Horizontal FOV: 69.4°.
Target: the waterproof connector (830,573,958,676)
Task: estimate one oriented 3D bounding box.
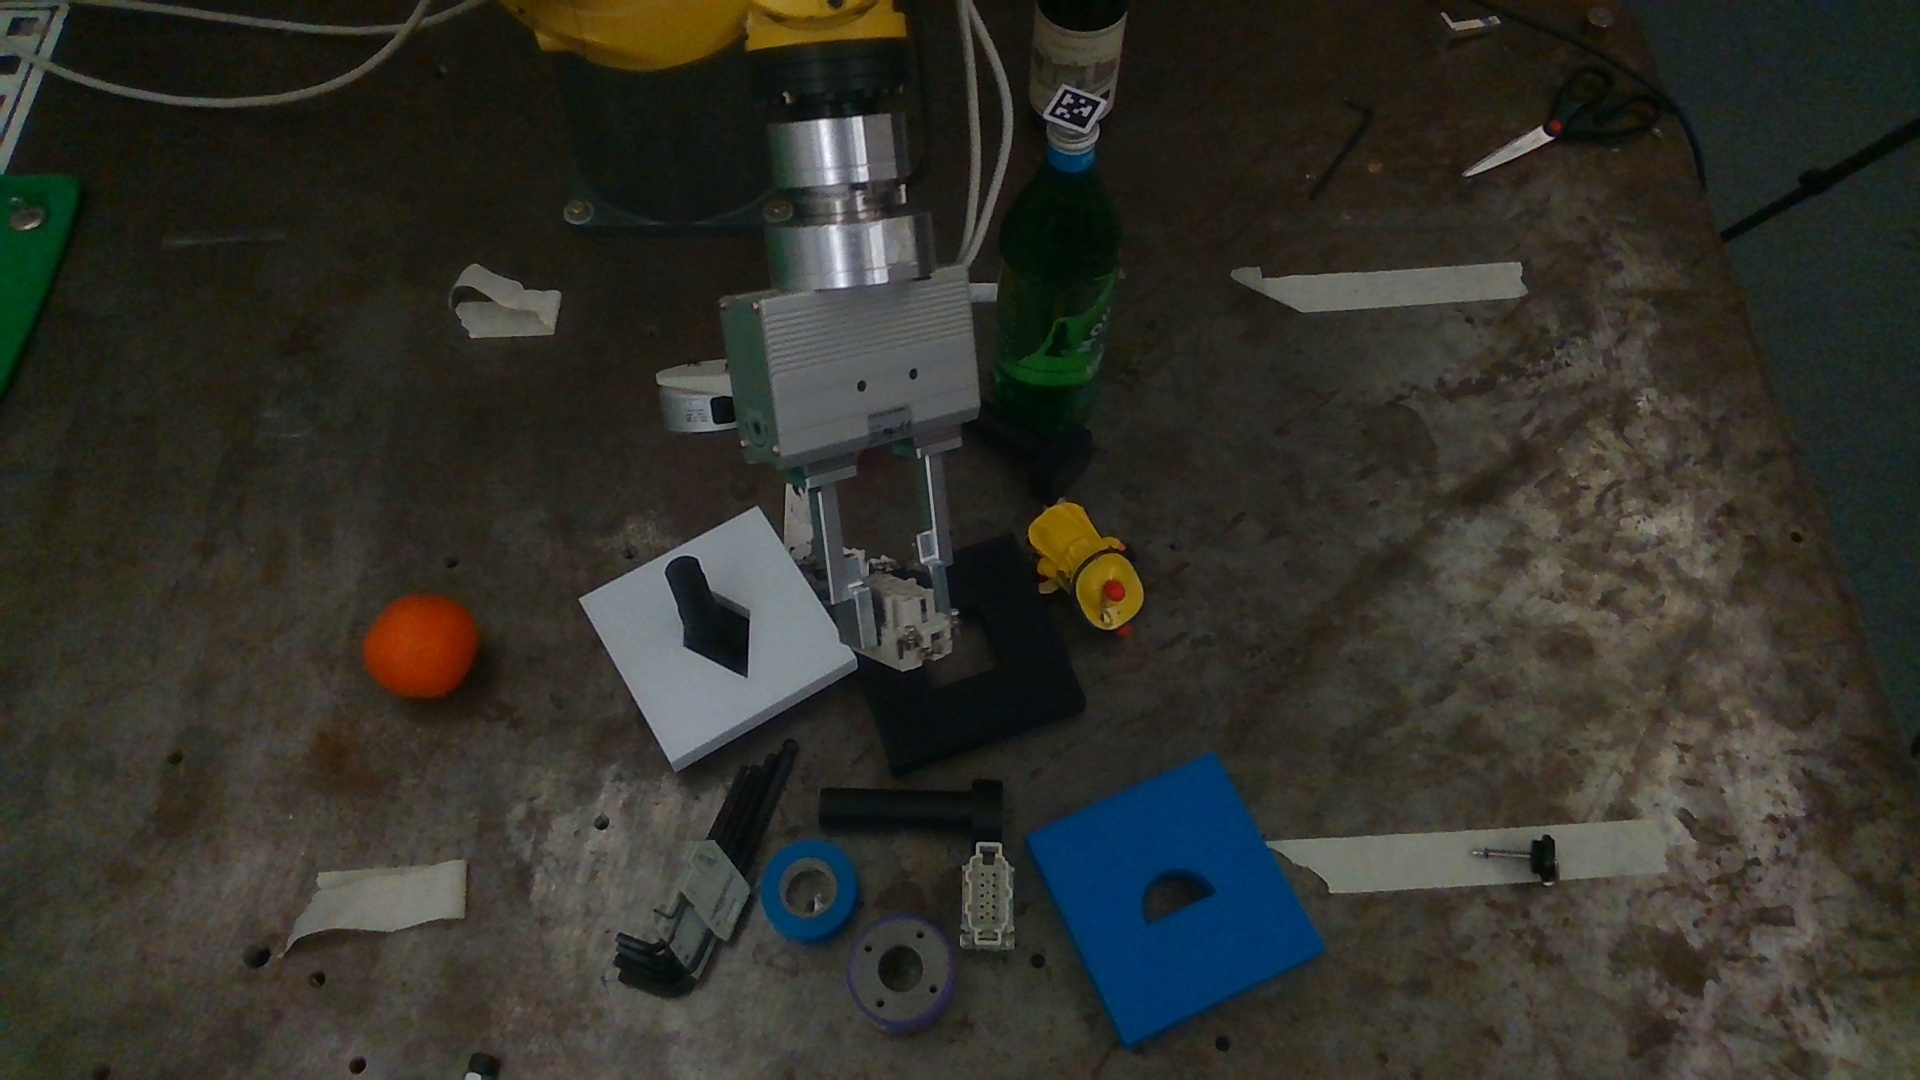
[{"bbox_3d":[-0.033,0.039,0.697,0.036,0.038,0.069,-26,25,-34],"label":"waterproof connector"}]
